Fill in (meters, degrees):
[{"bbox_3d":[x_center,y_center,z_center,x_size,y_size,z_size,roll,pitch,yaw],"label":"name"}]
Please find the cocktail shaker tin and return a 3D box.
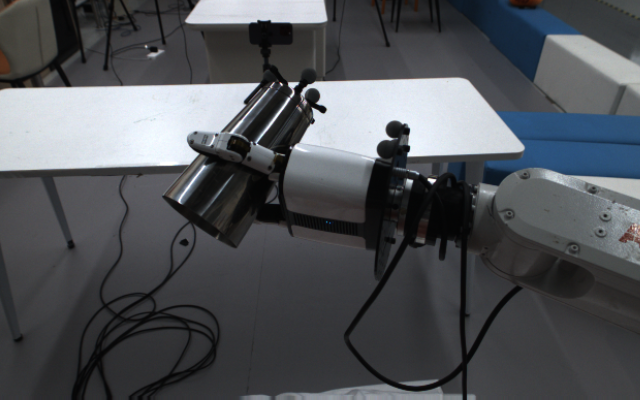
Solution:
[{"bbox_3d":[-0.079,-0.046,0.525,0.093,0.093,0.170,24,70,28],"label":"cocktail shaker tin"}]
